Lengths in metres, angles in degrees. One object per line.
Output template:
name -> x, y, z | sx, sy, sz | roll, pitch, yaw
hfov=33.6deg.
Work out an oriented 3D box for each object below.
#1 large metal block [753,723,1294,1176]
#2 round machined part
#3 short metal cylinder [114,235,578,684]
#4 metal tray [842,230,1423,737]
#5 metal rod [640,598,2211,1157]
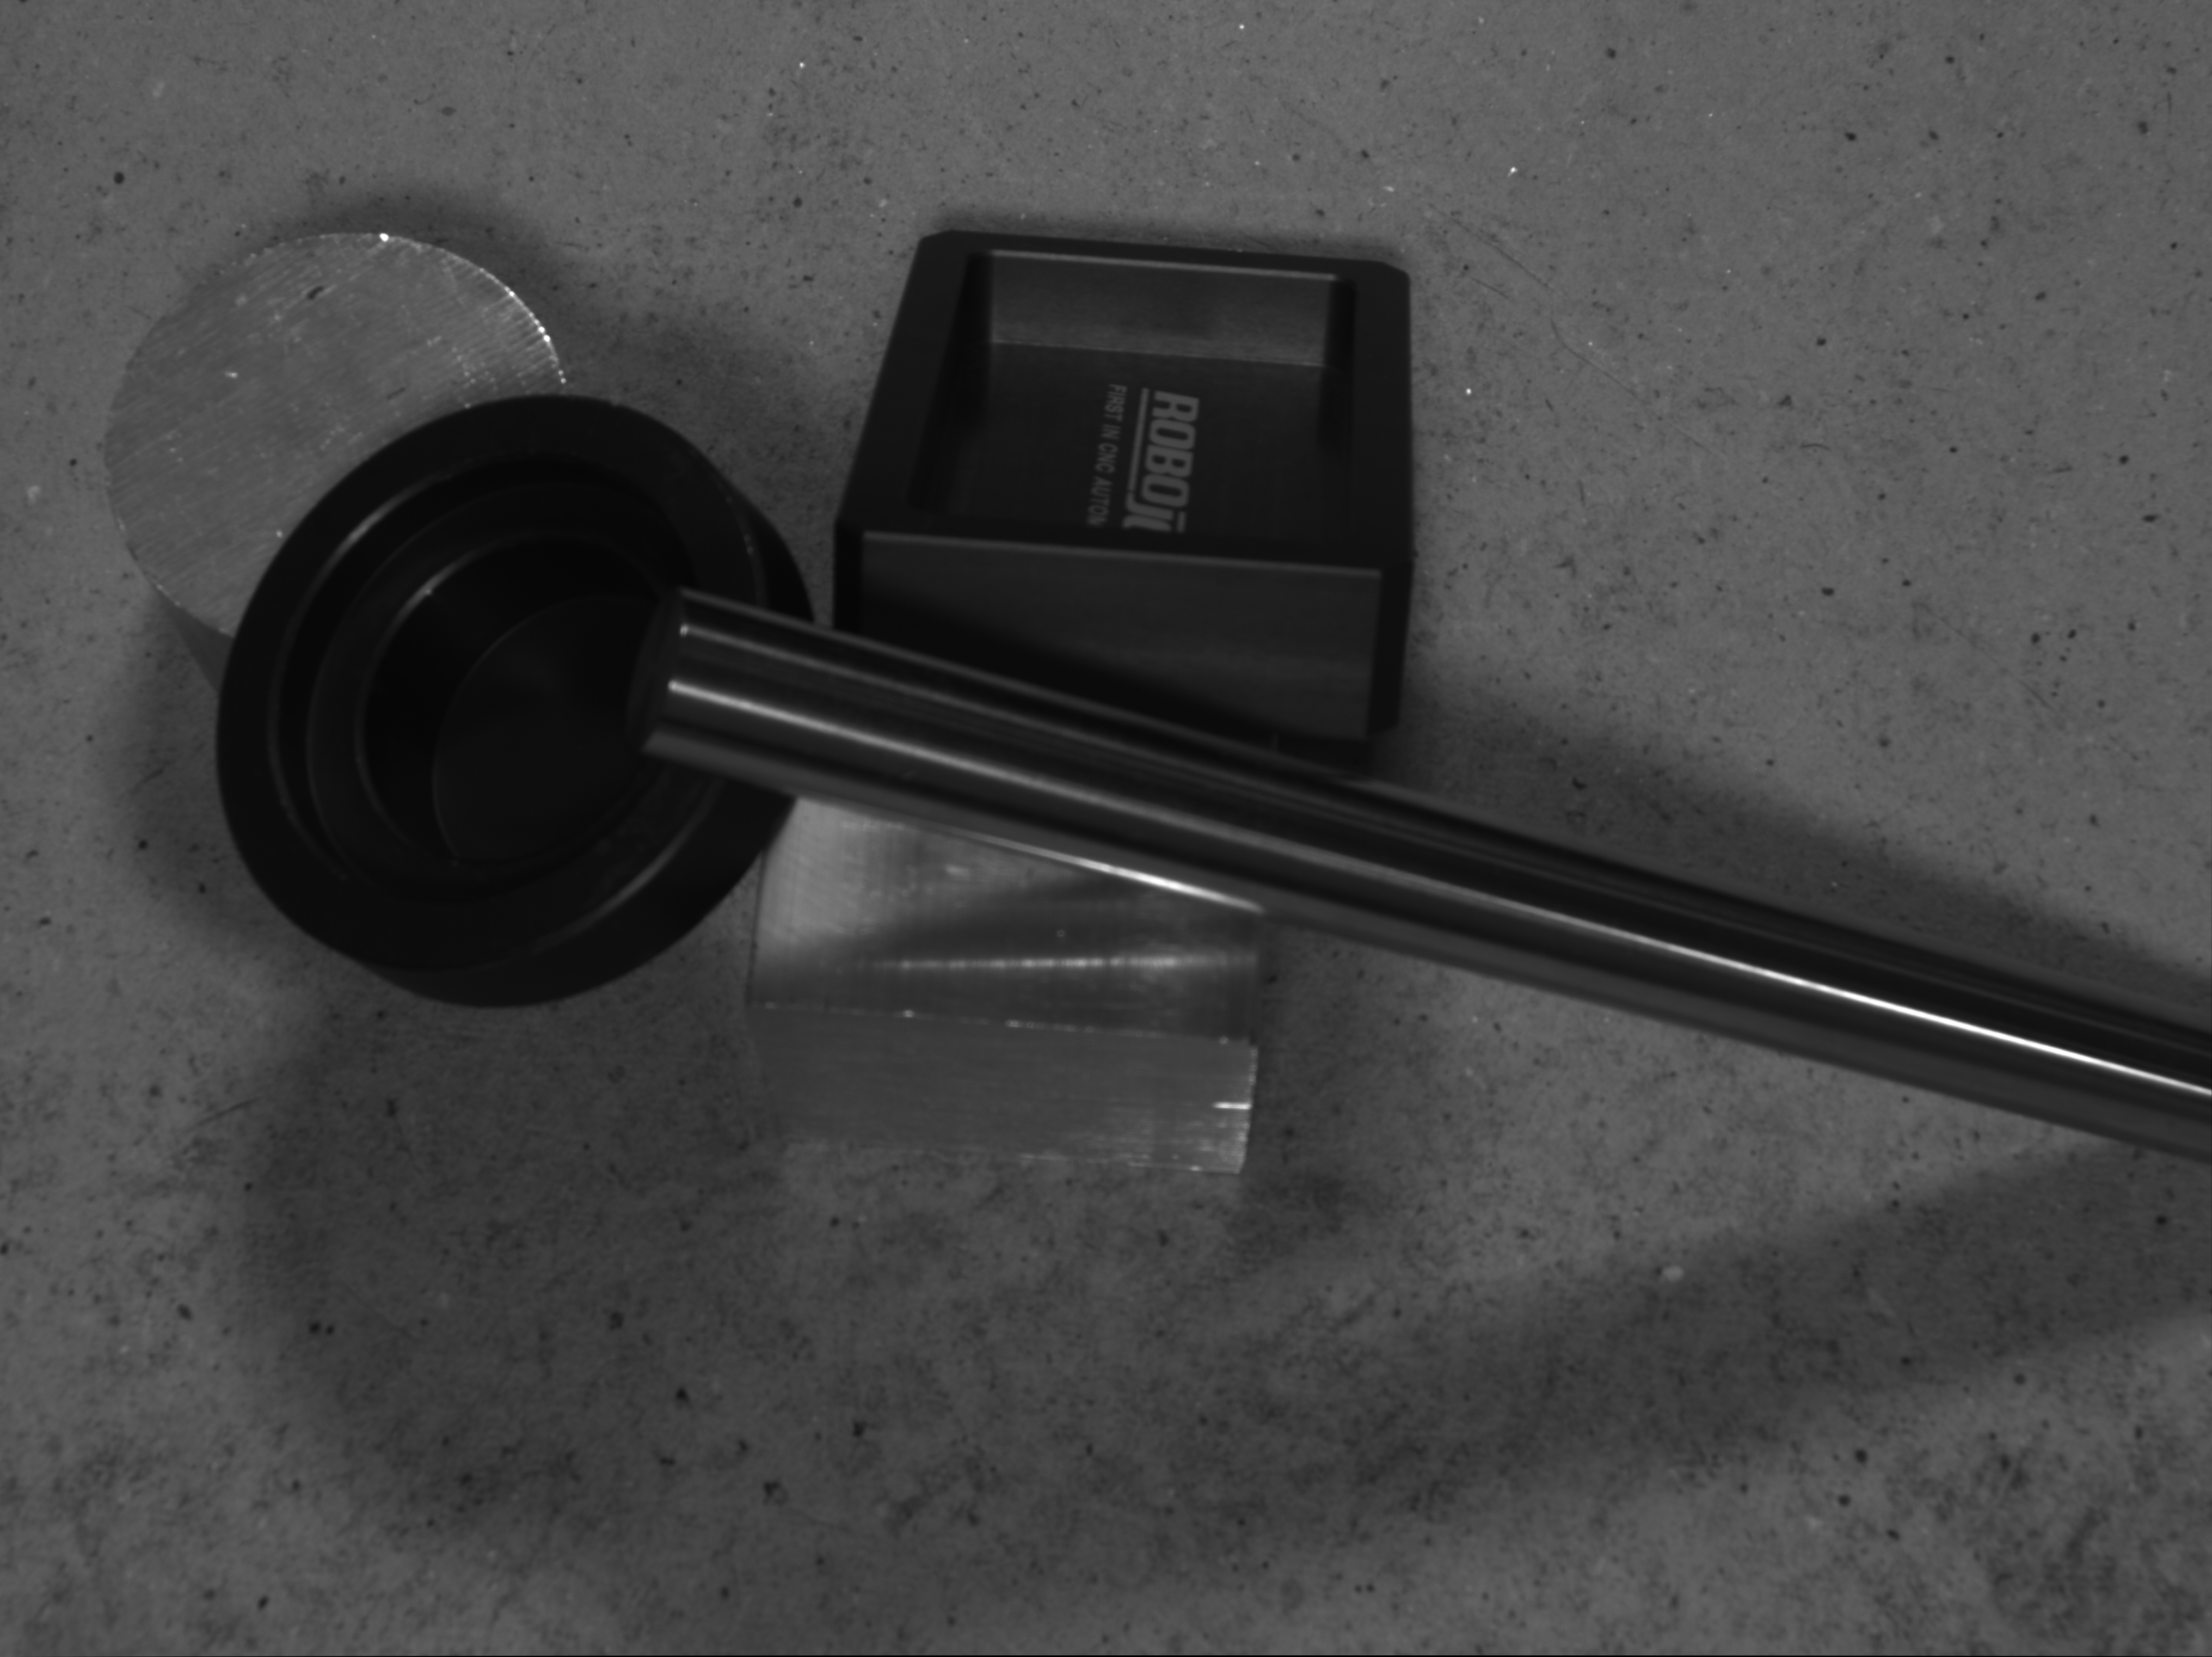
large metal block -> -0.012, 0.020, 0.608 | 0.080, 0.080, 0.050 | 4, 70, 2
round machined part -> -0.090, -0.017, 0.595 | 0.098, 0.042, 0.098 | -8, 67, 19
short metal cylinder -> -0.130, -0.058, 0.653 | 0.080, 0.050, 0.080 | 0, 70, 0
metal tray -> 0.007, -0.062, 0.625 | 0.090, 0.030, 0.130 | 4, 30, 2
metal rod -> 0.074, 0.014, 0.577 | 0.301, 0.025, 0.025 | 14, 69, -20
